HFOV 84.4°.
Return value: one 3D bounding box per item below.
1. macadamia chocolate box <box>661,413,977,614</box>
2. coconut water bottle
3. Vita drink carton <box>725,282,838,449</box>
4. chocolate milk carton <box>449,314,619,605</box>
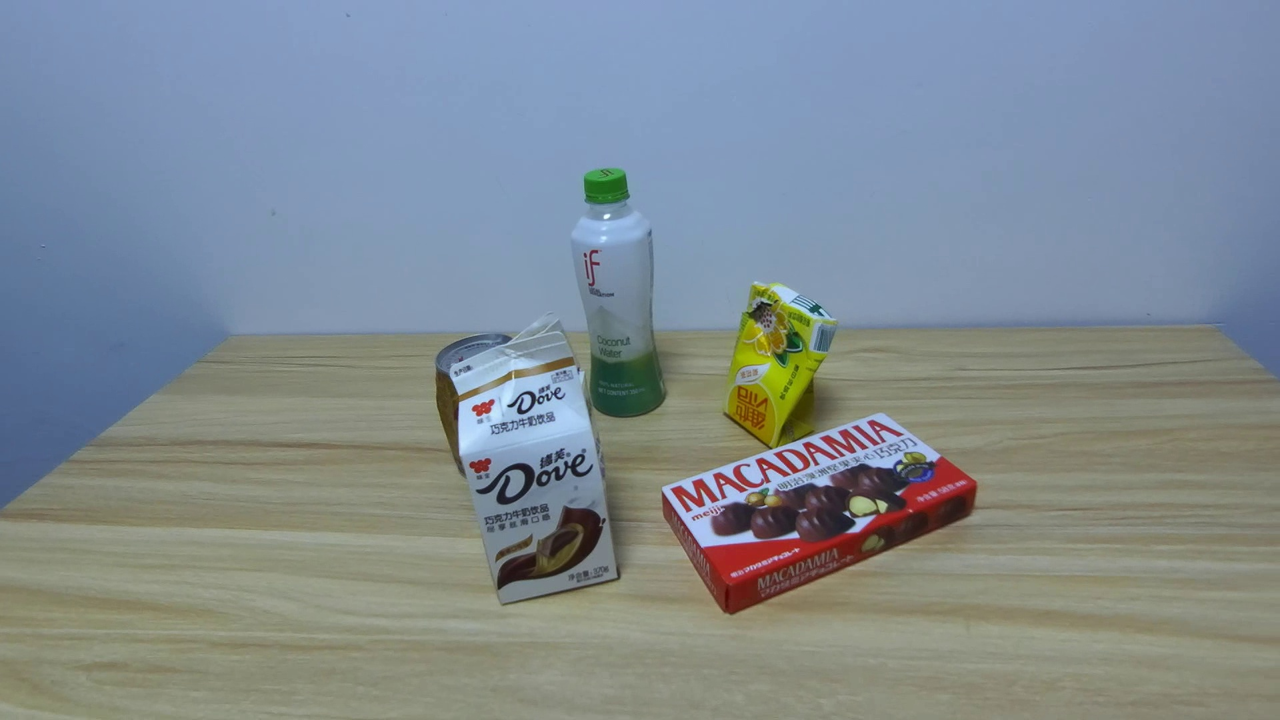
[{"bbox_3d":[0.112,0.090,0.451,0.178,0.027,0.095,-15,31,-17],"label":"macadamia chocolate box"},{"bbox_3d":[-0.017,-0.050,0.548,0.063,0.189,0.063,-4,28,2],"label":"coconut water bottle"},{"bbox_3d":[0.105,0.002,0.525,0.042,0.108,0.086,-7,30,-33],"label":"Vita drink carton"},{"bbox_3d":[-0.060,0.054,0.410,0.076,0.156,0.073,-11,29,-8],"label":"chocolate milk carton"}]
